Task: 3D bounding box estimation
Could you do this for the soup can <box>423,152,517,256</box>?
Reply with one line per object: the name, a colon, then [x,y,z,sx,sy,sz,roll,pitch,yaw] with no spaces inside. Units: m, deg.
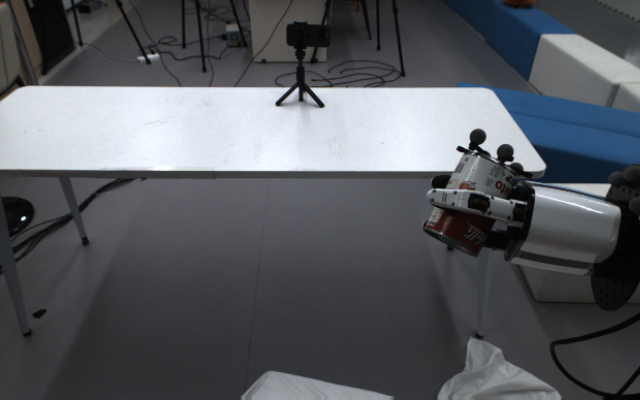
soup can: [0.173,0.005,0.551,0.067,0.101,0.067,28,-3,1]
